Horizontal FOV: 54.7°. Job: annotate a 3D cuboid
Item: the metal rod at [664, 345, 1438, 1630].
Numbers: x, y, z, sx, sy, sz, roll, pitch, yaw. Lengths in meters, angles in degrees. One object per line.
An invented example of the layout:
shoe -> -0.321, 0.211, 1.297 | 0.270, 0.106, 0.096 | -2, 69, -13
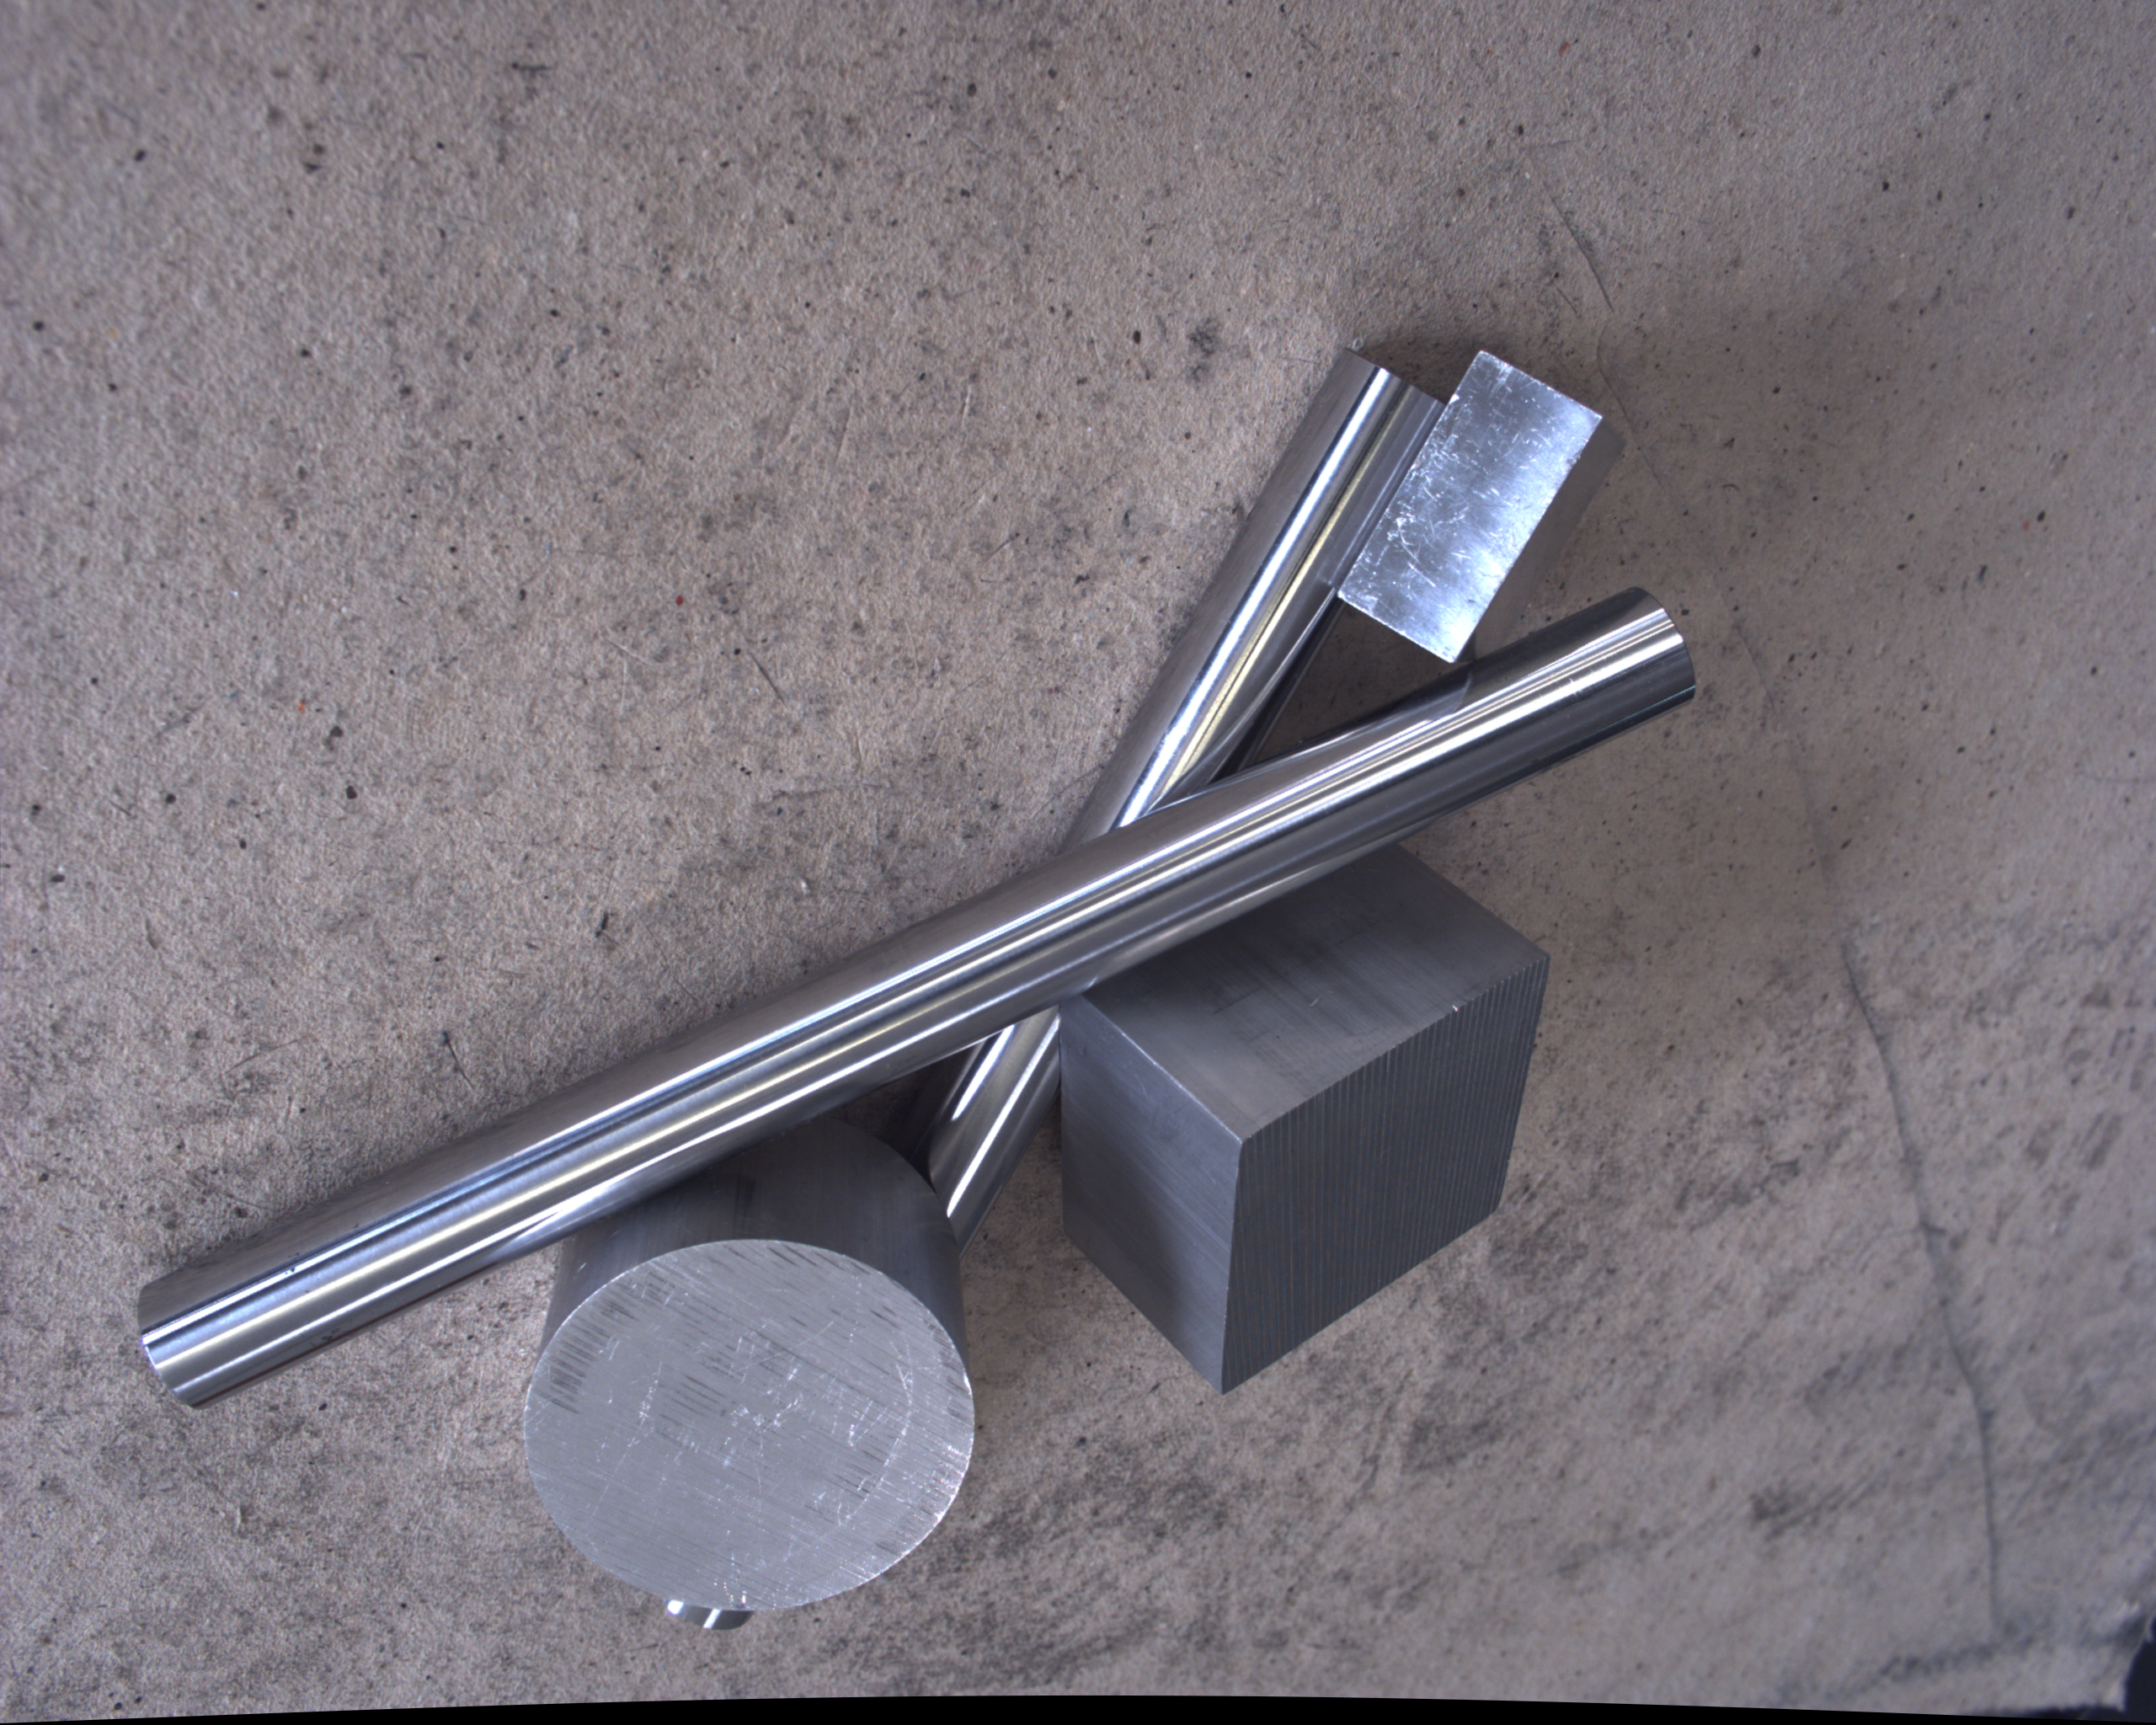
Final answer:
metal rod -> -0.011, 0.036, 0.424 | 0.025, 0.025, 0.298 | 19, 109, -36

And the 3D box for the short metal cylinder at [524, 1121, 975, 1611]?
short metal cylinder -> -0.062, 0.094, 0.400 | 0.081, 0.050, 0.079 | -2, 110, -6

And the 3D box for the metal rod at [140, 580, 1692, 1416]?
metal rod -> -0.026, 0.023, 0.386 | 0.301, 0.025, 0.025 | -26, 128, -4

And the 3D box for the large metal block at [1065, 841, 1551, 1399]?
large metal block -> 0.045, 0.049, 0.428 | 0.081, 0.050, 0.079 | -27, 138, -27

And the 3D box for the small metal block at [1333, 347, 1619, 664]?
small metal block -> 0.077, -0.066, 0.393 | 0.050, 0.025, 0.050 | -61, 167, 15
